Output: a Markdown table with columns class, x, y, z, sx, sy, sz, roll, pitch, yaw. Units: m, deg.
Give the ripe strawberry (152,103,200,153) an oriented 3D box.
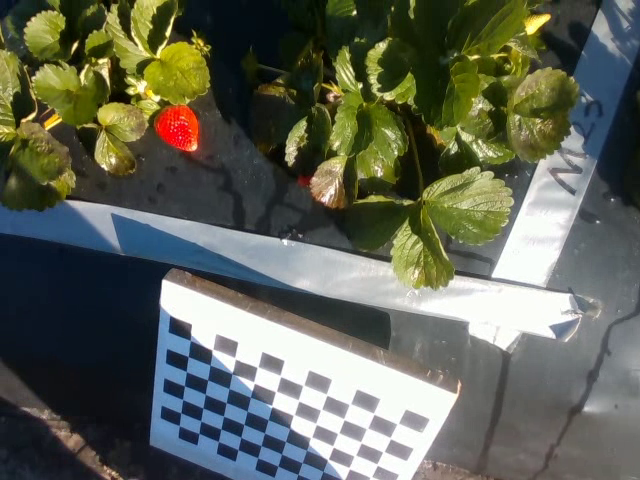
| class | x | y | z | sx | sy | sz | roll | pitch | yaw |
| --- | --- | --- | --- | --- | --- | --- | --- | --- | --- |
| ripe strawberry | -0.136 | -0.106 | 0.603 | 0.045 | 0.059 | 0.042 | -40 | -5 | 36 |
